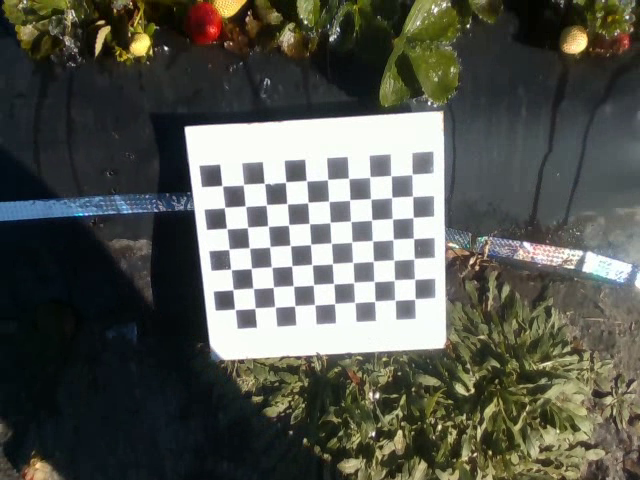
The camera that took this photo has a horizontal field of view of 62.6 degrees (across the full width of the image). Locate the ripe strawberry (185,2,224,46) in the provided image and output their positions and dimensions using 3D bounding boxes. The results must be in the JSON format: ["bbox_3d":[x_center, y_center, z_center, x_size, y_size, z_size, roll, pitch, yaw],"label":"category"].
[{"bbox_3d":[-0.104,-0.197,0.480,0.042,0.040,0.053,48,4,-39],"label":"ripe strawberry"}]
